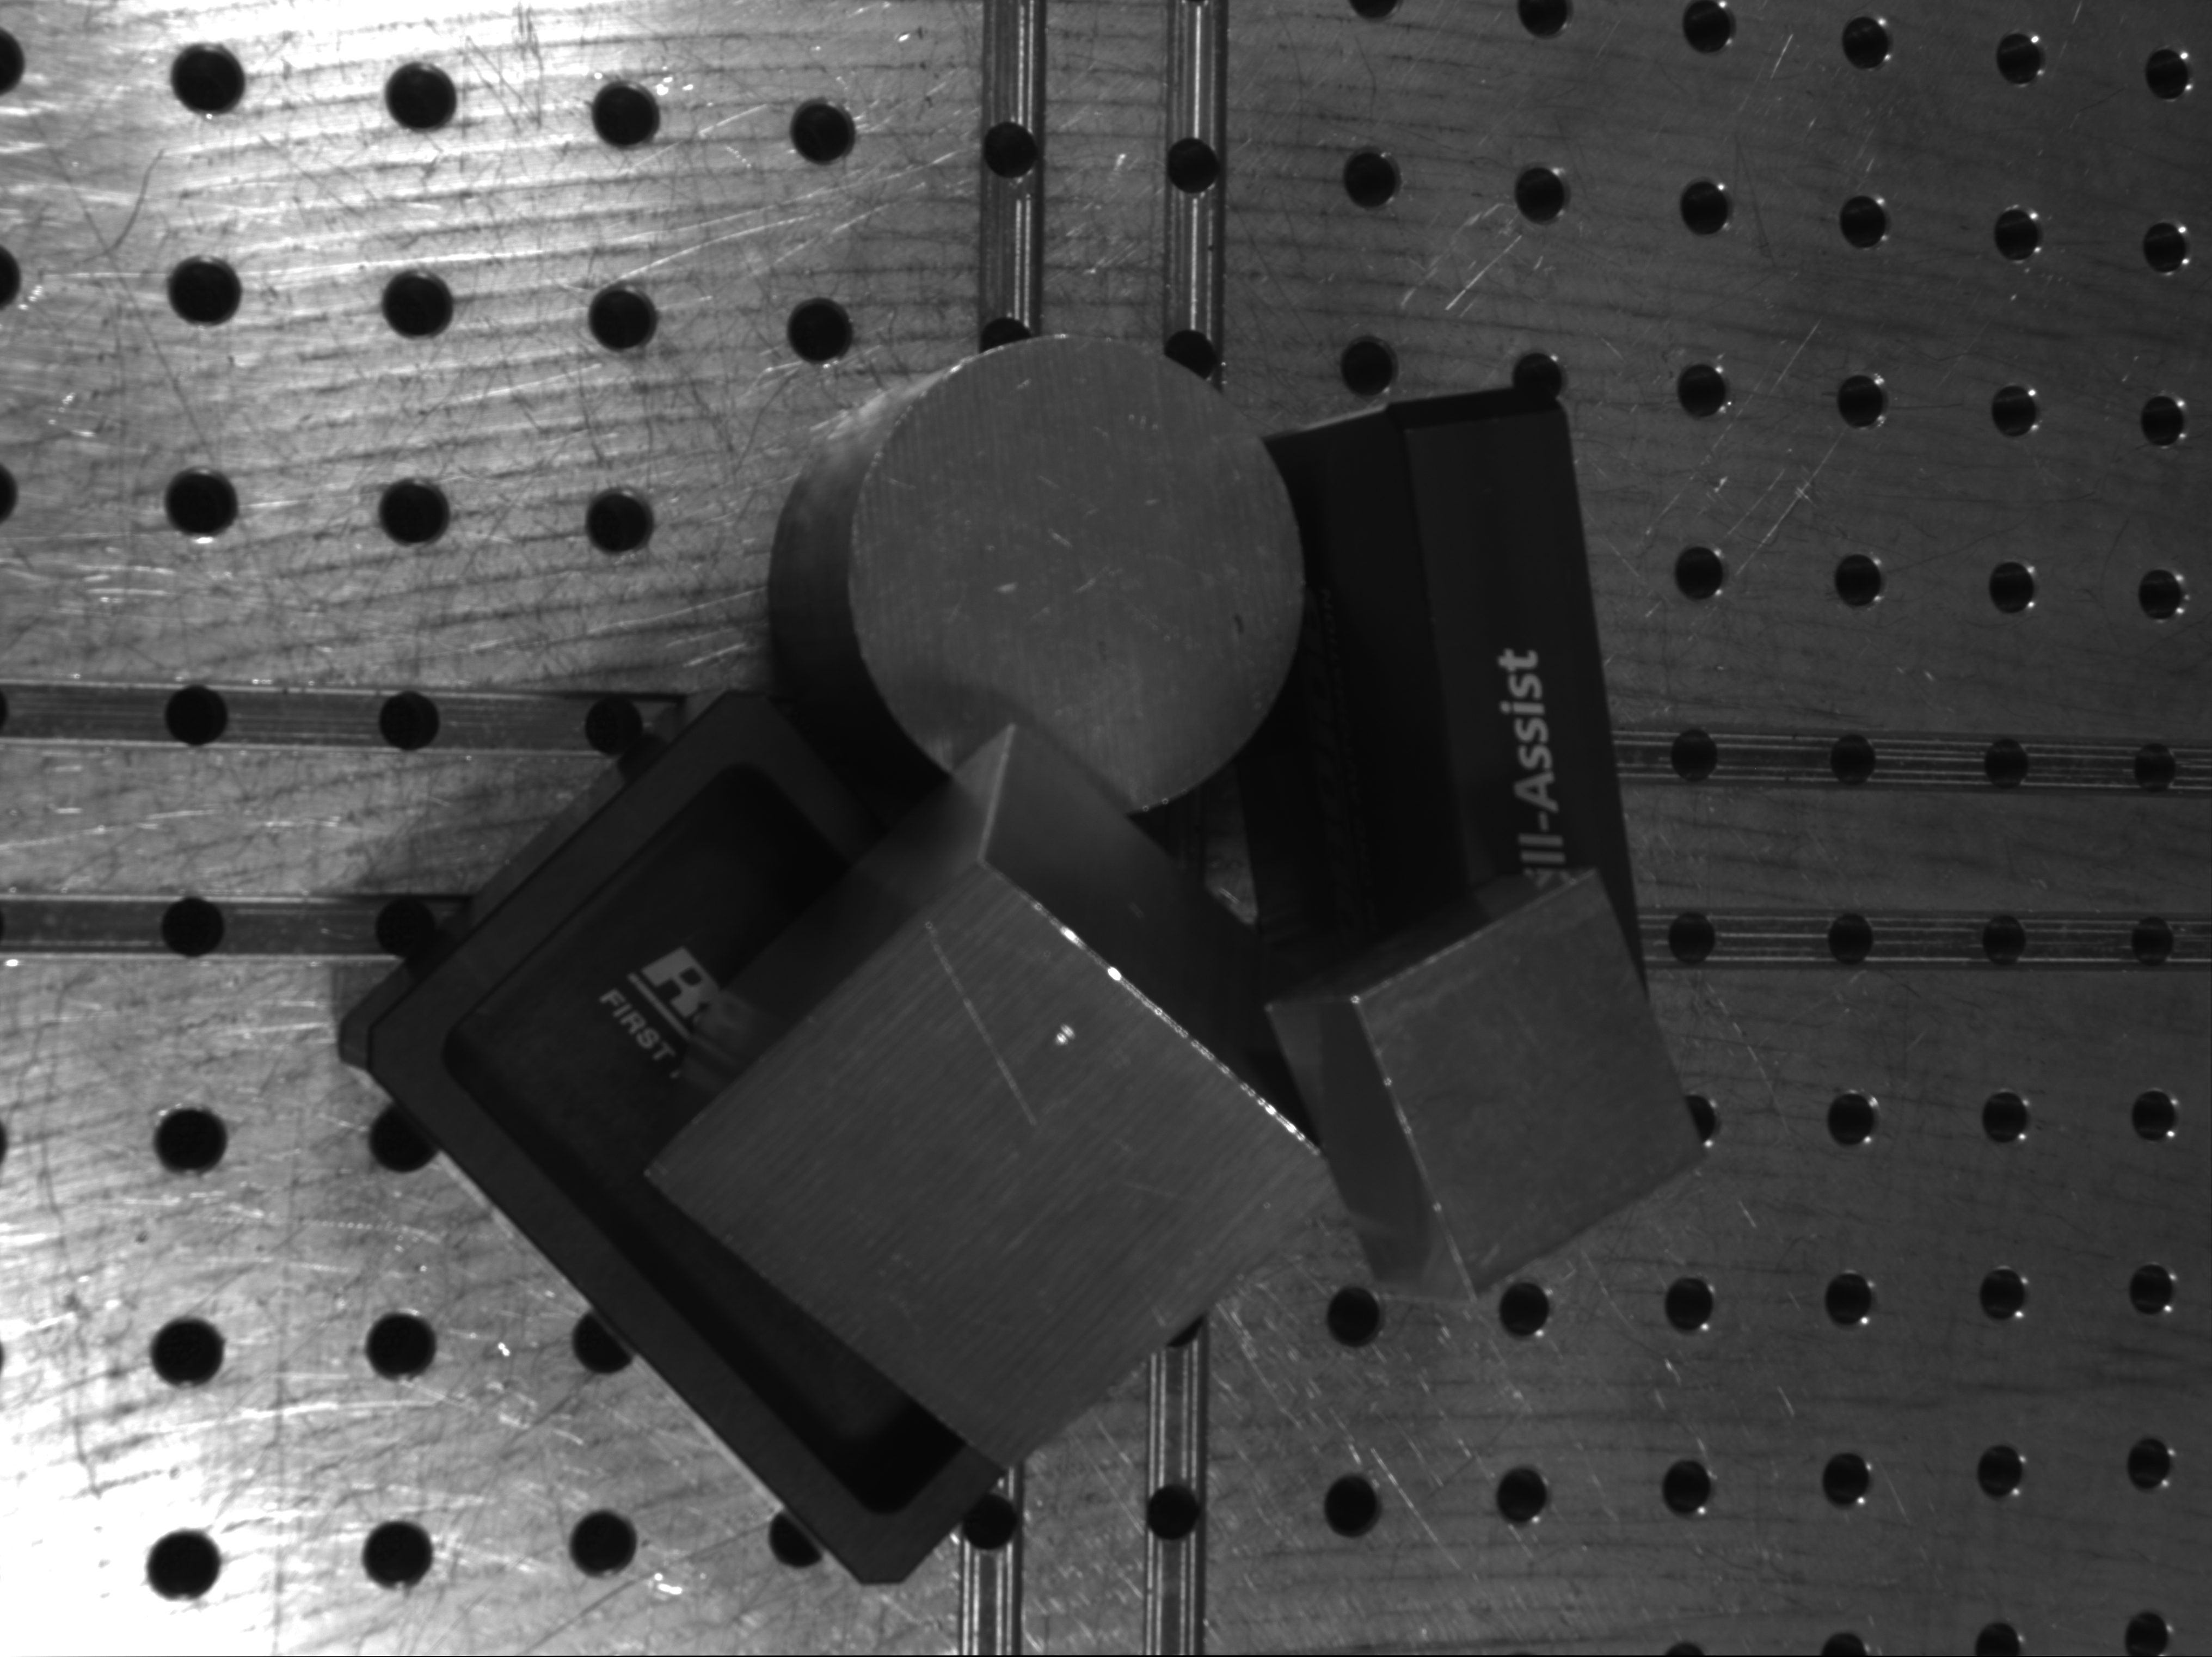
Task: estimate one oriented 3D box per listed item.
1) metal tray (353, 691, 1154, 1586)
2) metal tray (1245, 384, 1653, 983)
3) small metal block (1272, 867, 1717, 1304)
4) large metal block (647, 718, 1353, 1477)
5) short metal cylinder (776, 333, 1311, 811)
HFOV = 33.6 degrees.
[{"bbox_3d":[-0.052,0.052,0.623,0.090,0.030,0.130,-45,104,-14],"label":"metal tray"},{"bbox_3d":[0.056,-0.006,0.631,0.030,0.090,0.130,-10,93,-19],"label":"metal tray"},{"bbox_3d":[0.061,0.039,0.568,0.050,0.025,0.050,-26,99,-29],"label":"small metal block"},{"bbox_3d":[-0.014,0.044,0.594,0.080,0.050,0.080,41,112,-15],"label":"large metal block"},{"bbox_3d":[-0.011,-0.042,0.628,0.080,0.050,0.080,0,90,-20],"label":"short metal cylinder"}]
